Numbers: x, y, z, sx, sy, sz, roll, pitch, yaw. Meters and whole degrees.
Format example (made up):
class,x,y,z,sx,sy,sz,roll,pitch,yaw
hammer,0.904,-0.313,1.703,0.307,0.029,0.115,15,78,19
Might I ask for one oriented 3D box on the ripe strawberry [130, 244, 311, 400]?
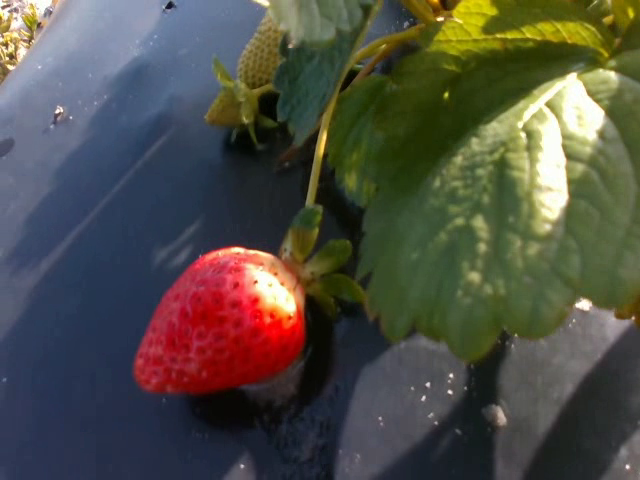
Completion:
class,x,y,z,sx,sy,sz,roll,pitch,yaw
ripe strawberry,-0.022,0.020,0.123,0.045,0.033,0.030,-33,14,-8
